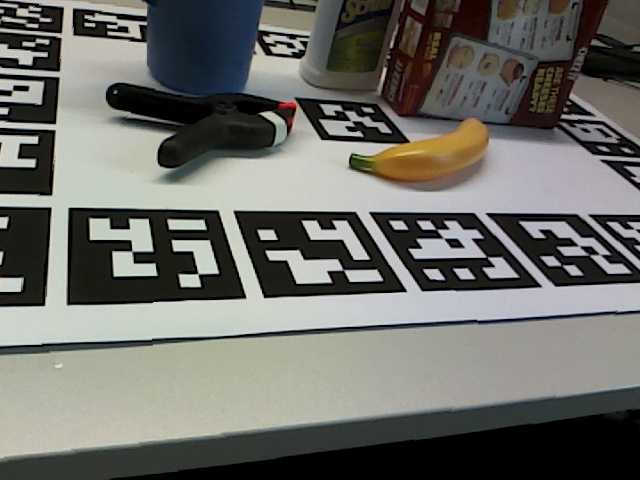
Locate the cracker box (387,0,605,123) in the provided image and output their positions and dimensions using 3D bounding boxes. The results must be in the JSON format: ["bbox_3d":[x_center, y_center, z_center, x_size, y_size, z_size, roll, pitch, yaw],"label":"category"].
[{"bbox_3d":[0.200,-0.227,0.715,0.213,0.164,0.072,-1,32,-19],"label":"cracker box"}]

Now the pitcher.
[{"bbox_3d":[-0.119,-0.279,0.596,0.188,0.242,0.134,-12,39,-38],"label":"pitcher"}]

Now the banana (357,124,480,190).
[{"bbox_3d":[0.119,-0.086,0.627,0.075,0.039,0.196,30,36,26],"label":"banana"}]

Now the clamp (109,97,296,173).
[{"bbox_3d":[-0.091,-0.102,0.563,0.164,0.036,0.123,-11,38,-36],"label":"clamp"}]

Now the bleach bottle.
[{"bbox_3d":[0.039,-0.289,0.704,0.102,0.250,0.068,-1,34,-21],"label":"bleach bottle"}]
